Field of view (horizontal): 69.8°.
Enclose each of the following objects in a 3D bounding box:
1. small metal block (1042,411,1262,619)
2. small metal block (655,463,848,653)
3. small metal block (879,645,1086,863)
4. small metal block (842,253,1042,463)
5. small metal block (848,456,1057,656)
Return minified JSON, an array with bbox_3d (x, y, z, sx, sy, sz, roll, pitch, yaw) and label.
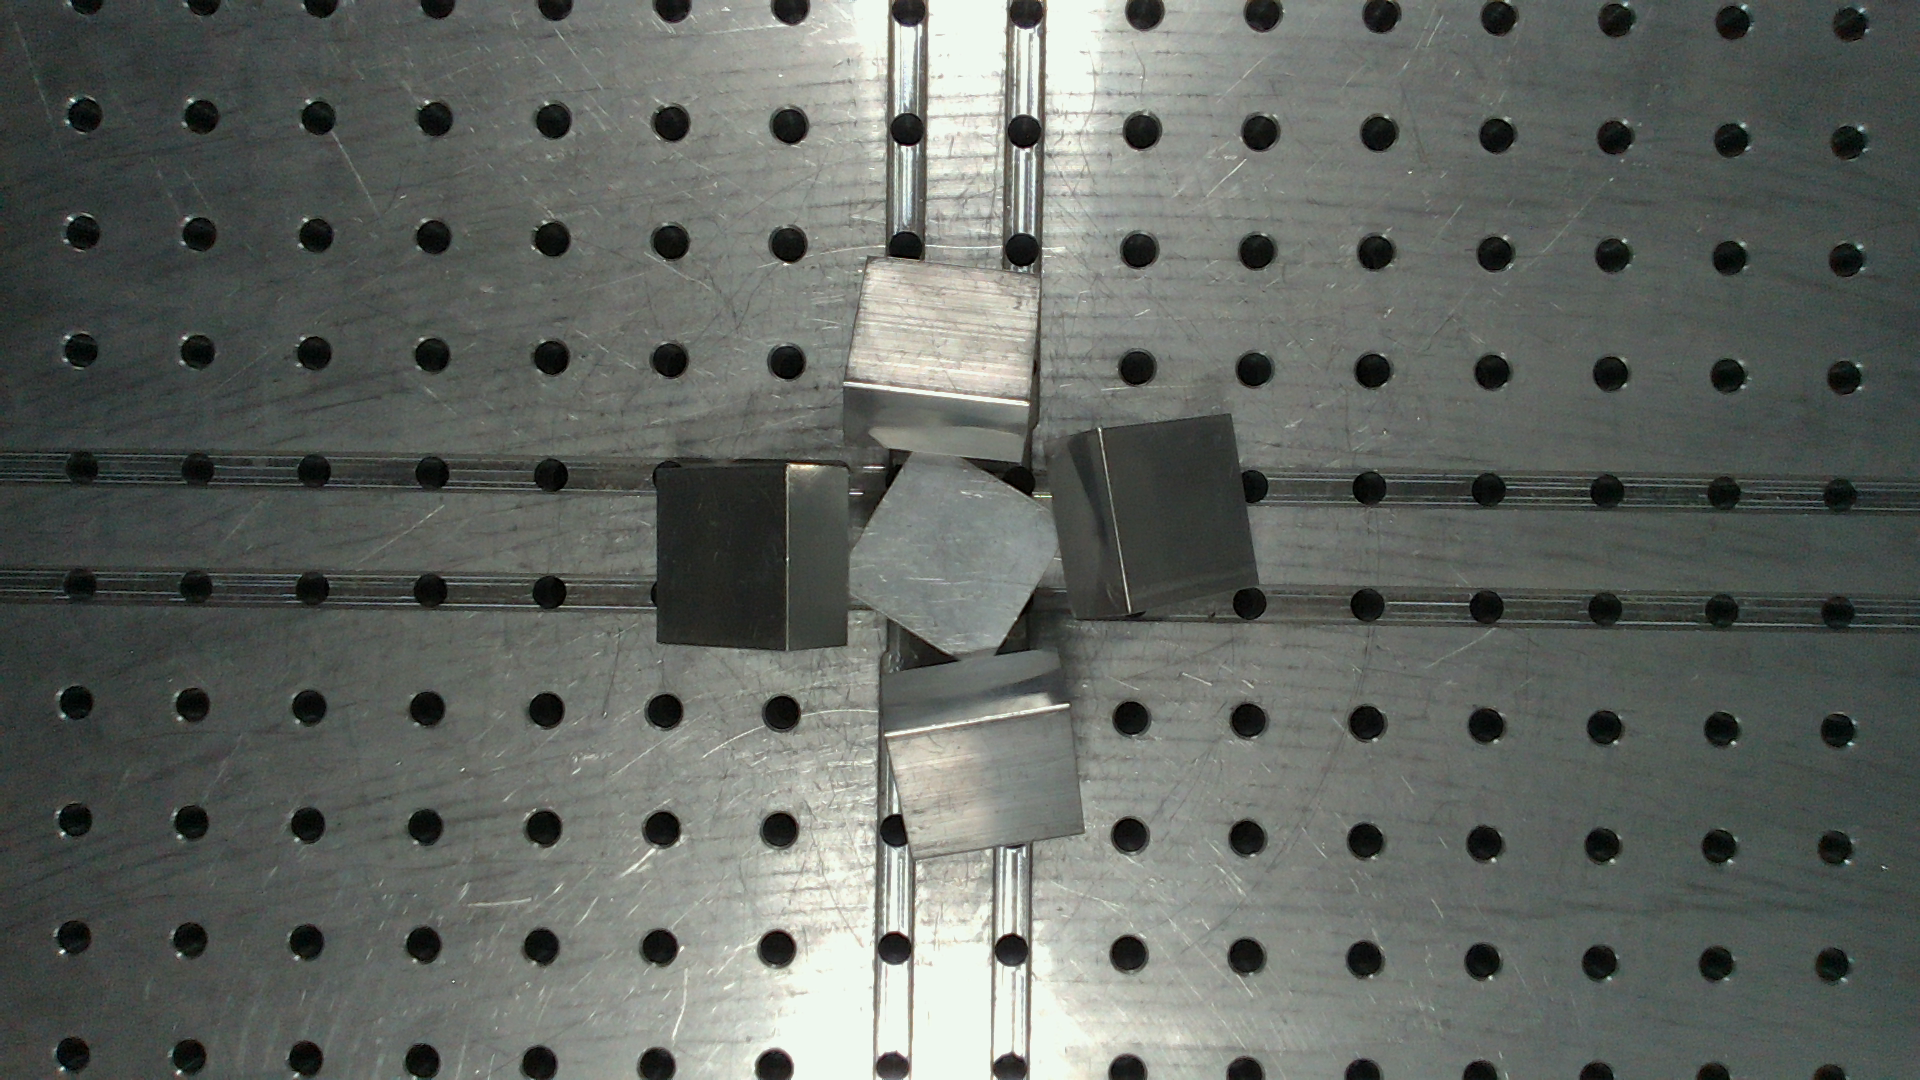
[{"bbox_3d":[0.054,-0.007,0.386,0.050,0.025,0.050,-10,90,-35],"label":"small metal block"},{"bbox_3d":[-0.059,0.005,0.386,0.050,0.025,0.050,0,90,35],"label":"small metal block"},{"bbox_3d":[0.007,0.060,0.385,0.050,0.025,0.050,-9,126,0],"label":"small metal block"},{"bbox_3d":[-0.005,-0.051,0.385,0.050,0.025,0.050,6,54,0],"label":"small metal block"},{"bbox_3d":[-0.002,0.004,0.397,0.050,0.025,0.050,31,90,0],"label":"small metal block"}]
